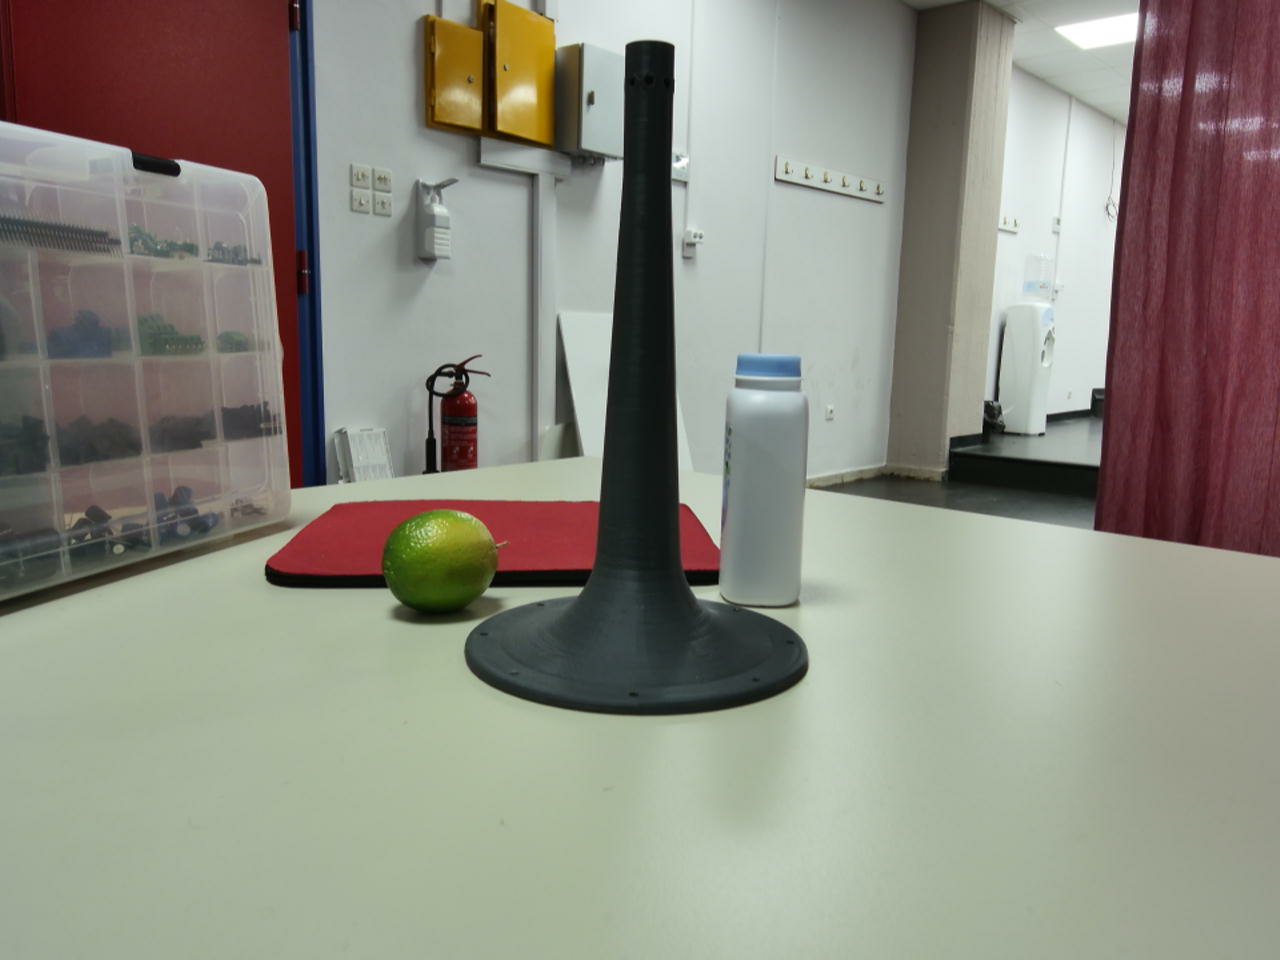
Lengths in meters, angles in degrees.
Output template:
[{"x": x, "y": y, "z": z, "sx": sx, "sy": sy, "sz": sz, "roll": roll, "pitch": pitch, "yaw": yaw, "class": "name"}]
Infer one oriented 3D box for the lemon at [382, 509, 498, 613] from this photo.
[{"x": -0.099, "y": 0.040, "z": 0.496, "sx": 0.055, "sy": 0.050, "sz": 0.054, "roll": 1, "pitch": 7, "yaw": 2, "class": "lemon"}]
